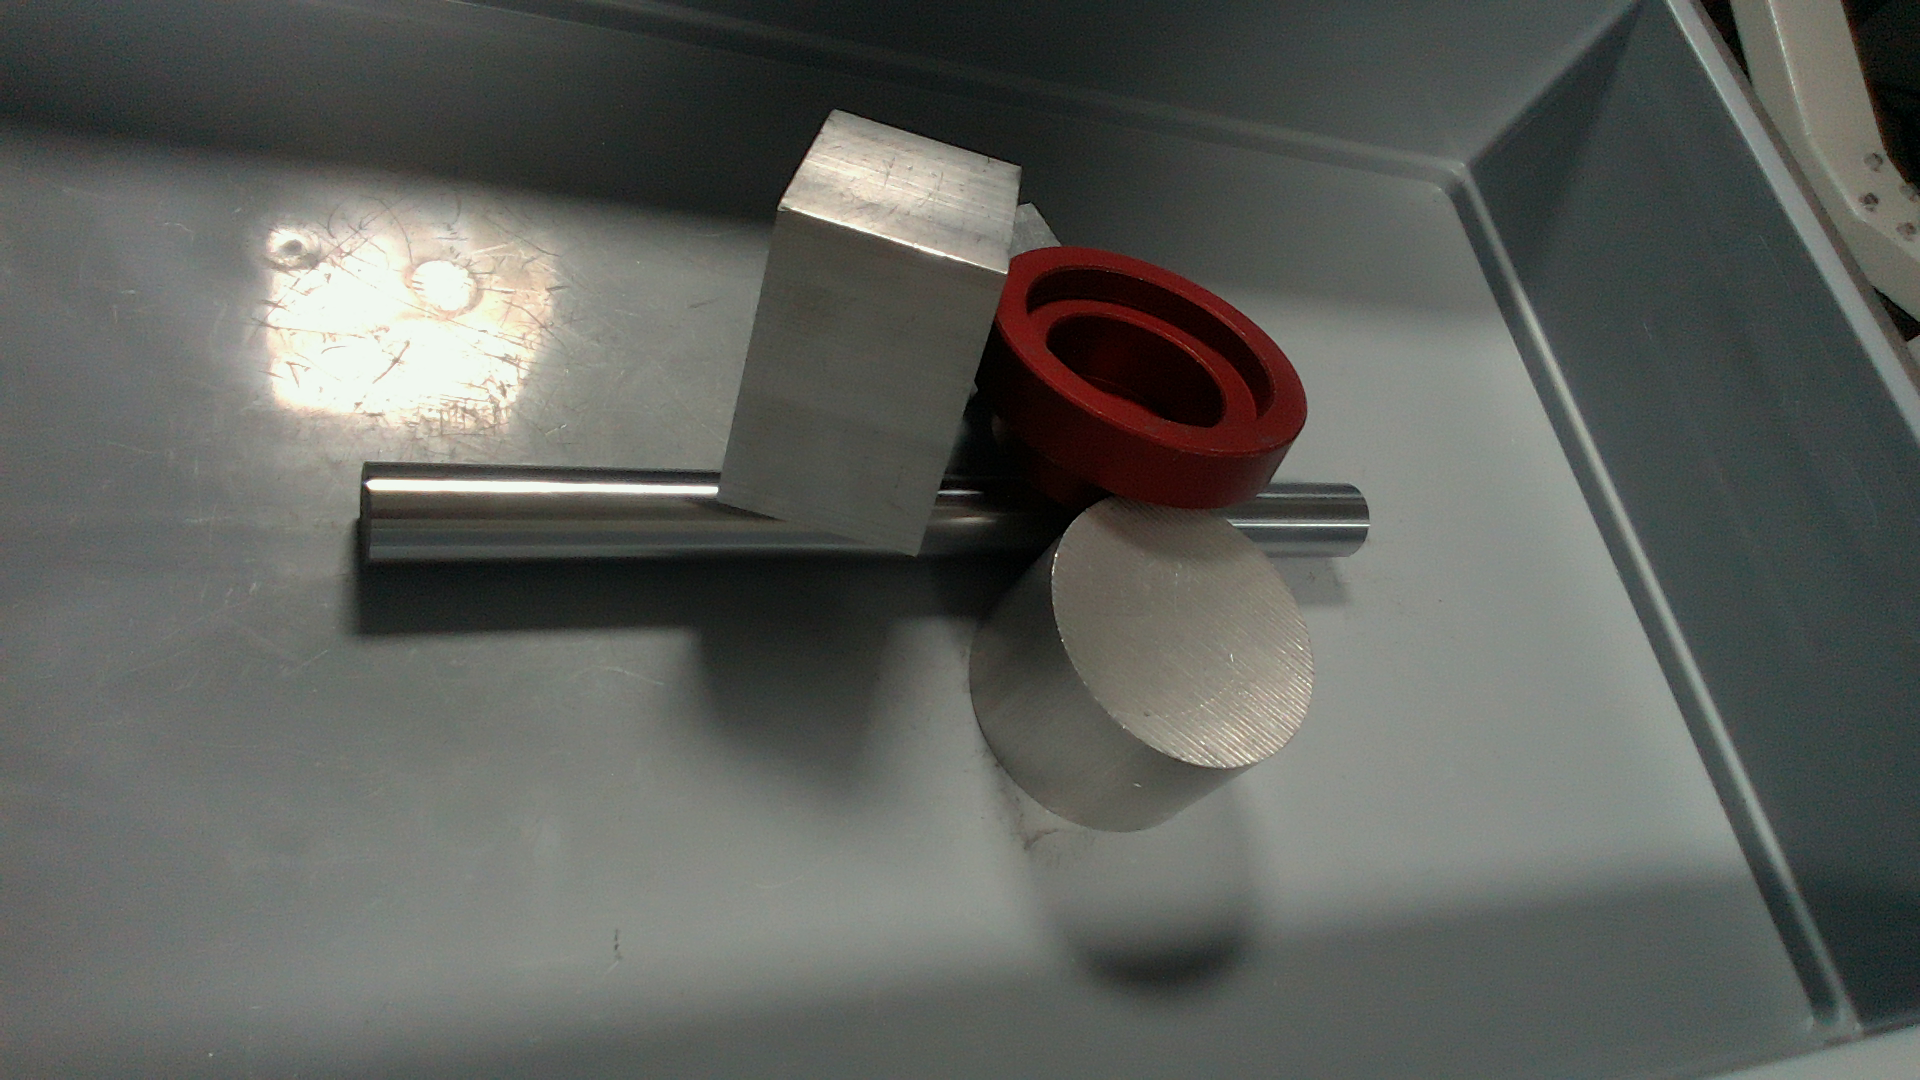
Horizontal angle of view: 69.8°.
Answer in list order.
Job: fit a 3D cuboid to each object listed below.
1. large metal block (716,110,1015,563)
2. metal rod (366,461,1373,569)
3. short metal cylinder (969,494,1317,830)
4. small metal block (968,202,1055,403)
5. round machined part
[{"bbox_3d":[-0.023,-0.054,0.355,0.050,0.080,0.080,16,32,-6],"label":"large metal block"},{"bbox_3d":[-0.004,-0.006,0.388,0.301,0.025,0.025,0,62,-28],"label":"metal rod"},{"bbox_3d":[0.049,0.033,0.377,0.080,0.050,0.080,14,56,-21],"label":"short metal cylinder"},{"bbox_3d":[0.012,-0.077,0.443,0.050,0.025,0.050,-23,74,-36],"label":"small metal block"},{"bbox_3d":[0.048,-0.042,0.404,0.098,0.042,0.098,15,39,-12],"label":"round machined part"}]
